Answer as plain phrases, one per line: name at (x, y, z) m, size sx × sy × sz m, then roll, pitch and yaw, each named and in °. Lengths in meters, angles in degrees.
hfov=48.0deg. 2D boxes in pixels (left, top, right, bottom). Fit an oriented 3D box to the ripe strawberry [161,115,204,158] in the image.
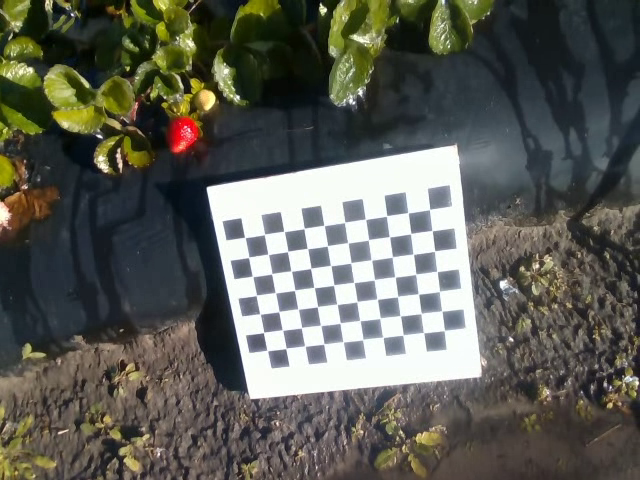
ripe strawberry at (-0.126, -0.091, 0.644) m, size 0.039 × 0.040 × 0.039 m, roll -16°, pitch 35°, yaw 24°
